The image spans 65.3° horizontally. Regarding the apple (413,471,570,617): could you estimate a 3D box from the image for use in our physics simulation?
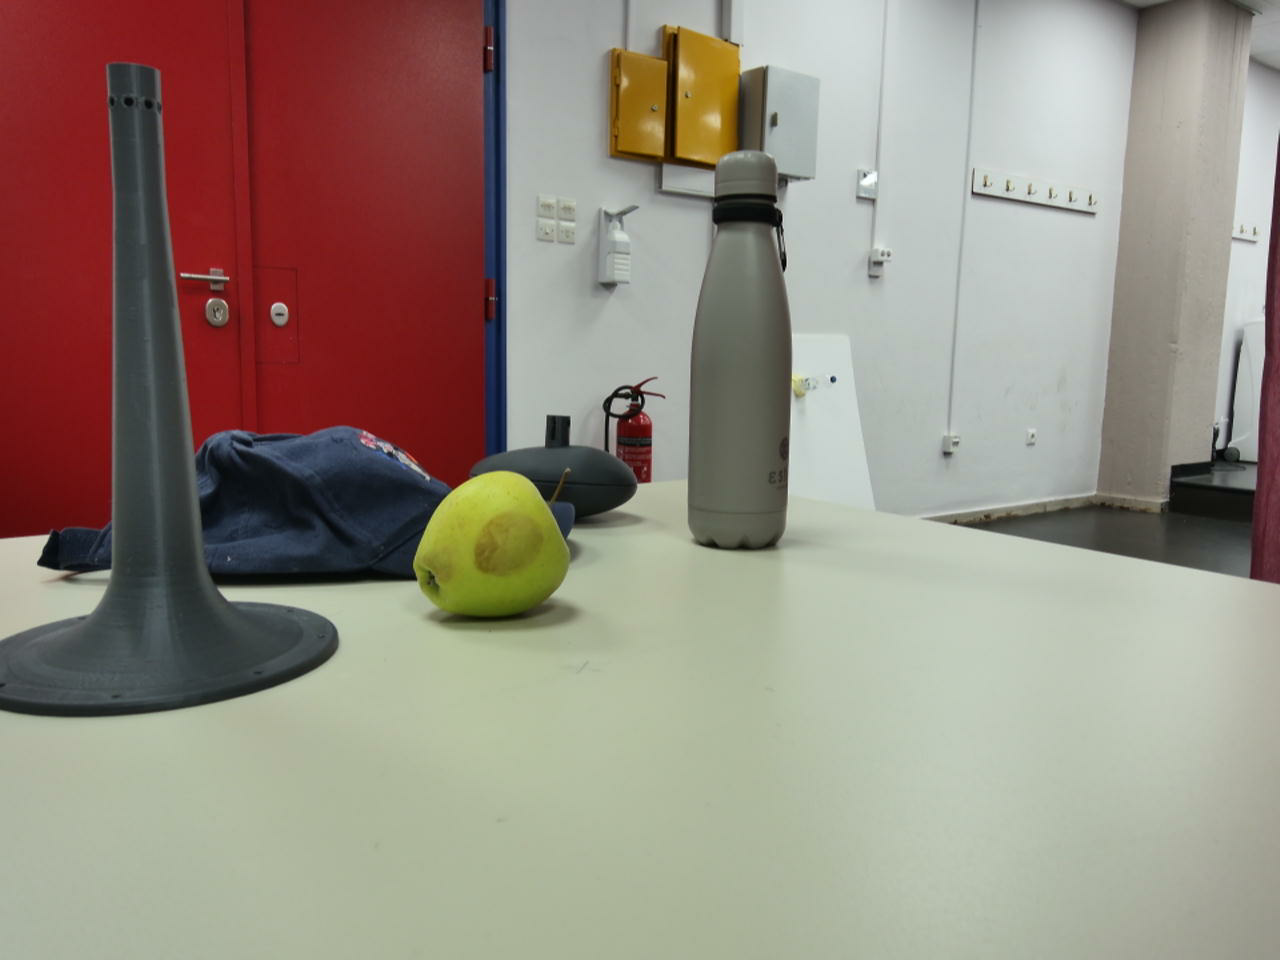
[{"bbox_3d":[-0.078,0.034,0.533,0.077,0.075,0.072,1,6,7],"label":"apple"}]
